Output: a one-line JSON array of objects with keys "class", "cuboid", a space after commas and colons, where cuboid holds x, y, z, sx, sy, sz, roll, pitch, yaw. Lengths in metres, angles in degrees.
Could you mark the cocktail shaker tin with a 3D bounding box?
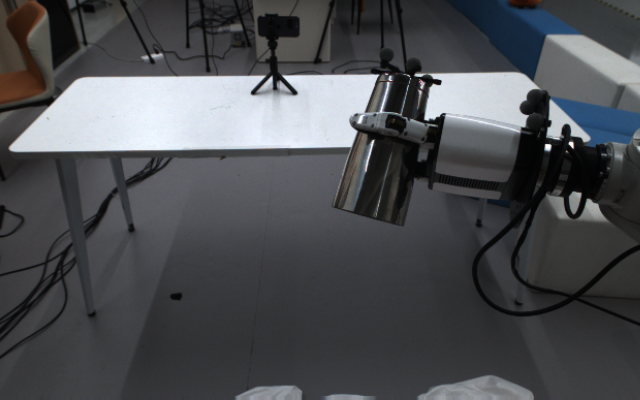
[{"class": "cocktail shaker tin", "cuboid": [0.082, -0.062, 0.590, 0.093, 0.170, 0.093, 15, -2, 1]}]
